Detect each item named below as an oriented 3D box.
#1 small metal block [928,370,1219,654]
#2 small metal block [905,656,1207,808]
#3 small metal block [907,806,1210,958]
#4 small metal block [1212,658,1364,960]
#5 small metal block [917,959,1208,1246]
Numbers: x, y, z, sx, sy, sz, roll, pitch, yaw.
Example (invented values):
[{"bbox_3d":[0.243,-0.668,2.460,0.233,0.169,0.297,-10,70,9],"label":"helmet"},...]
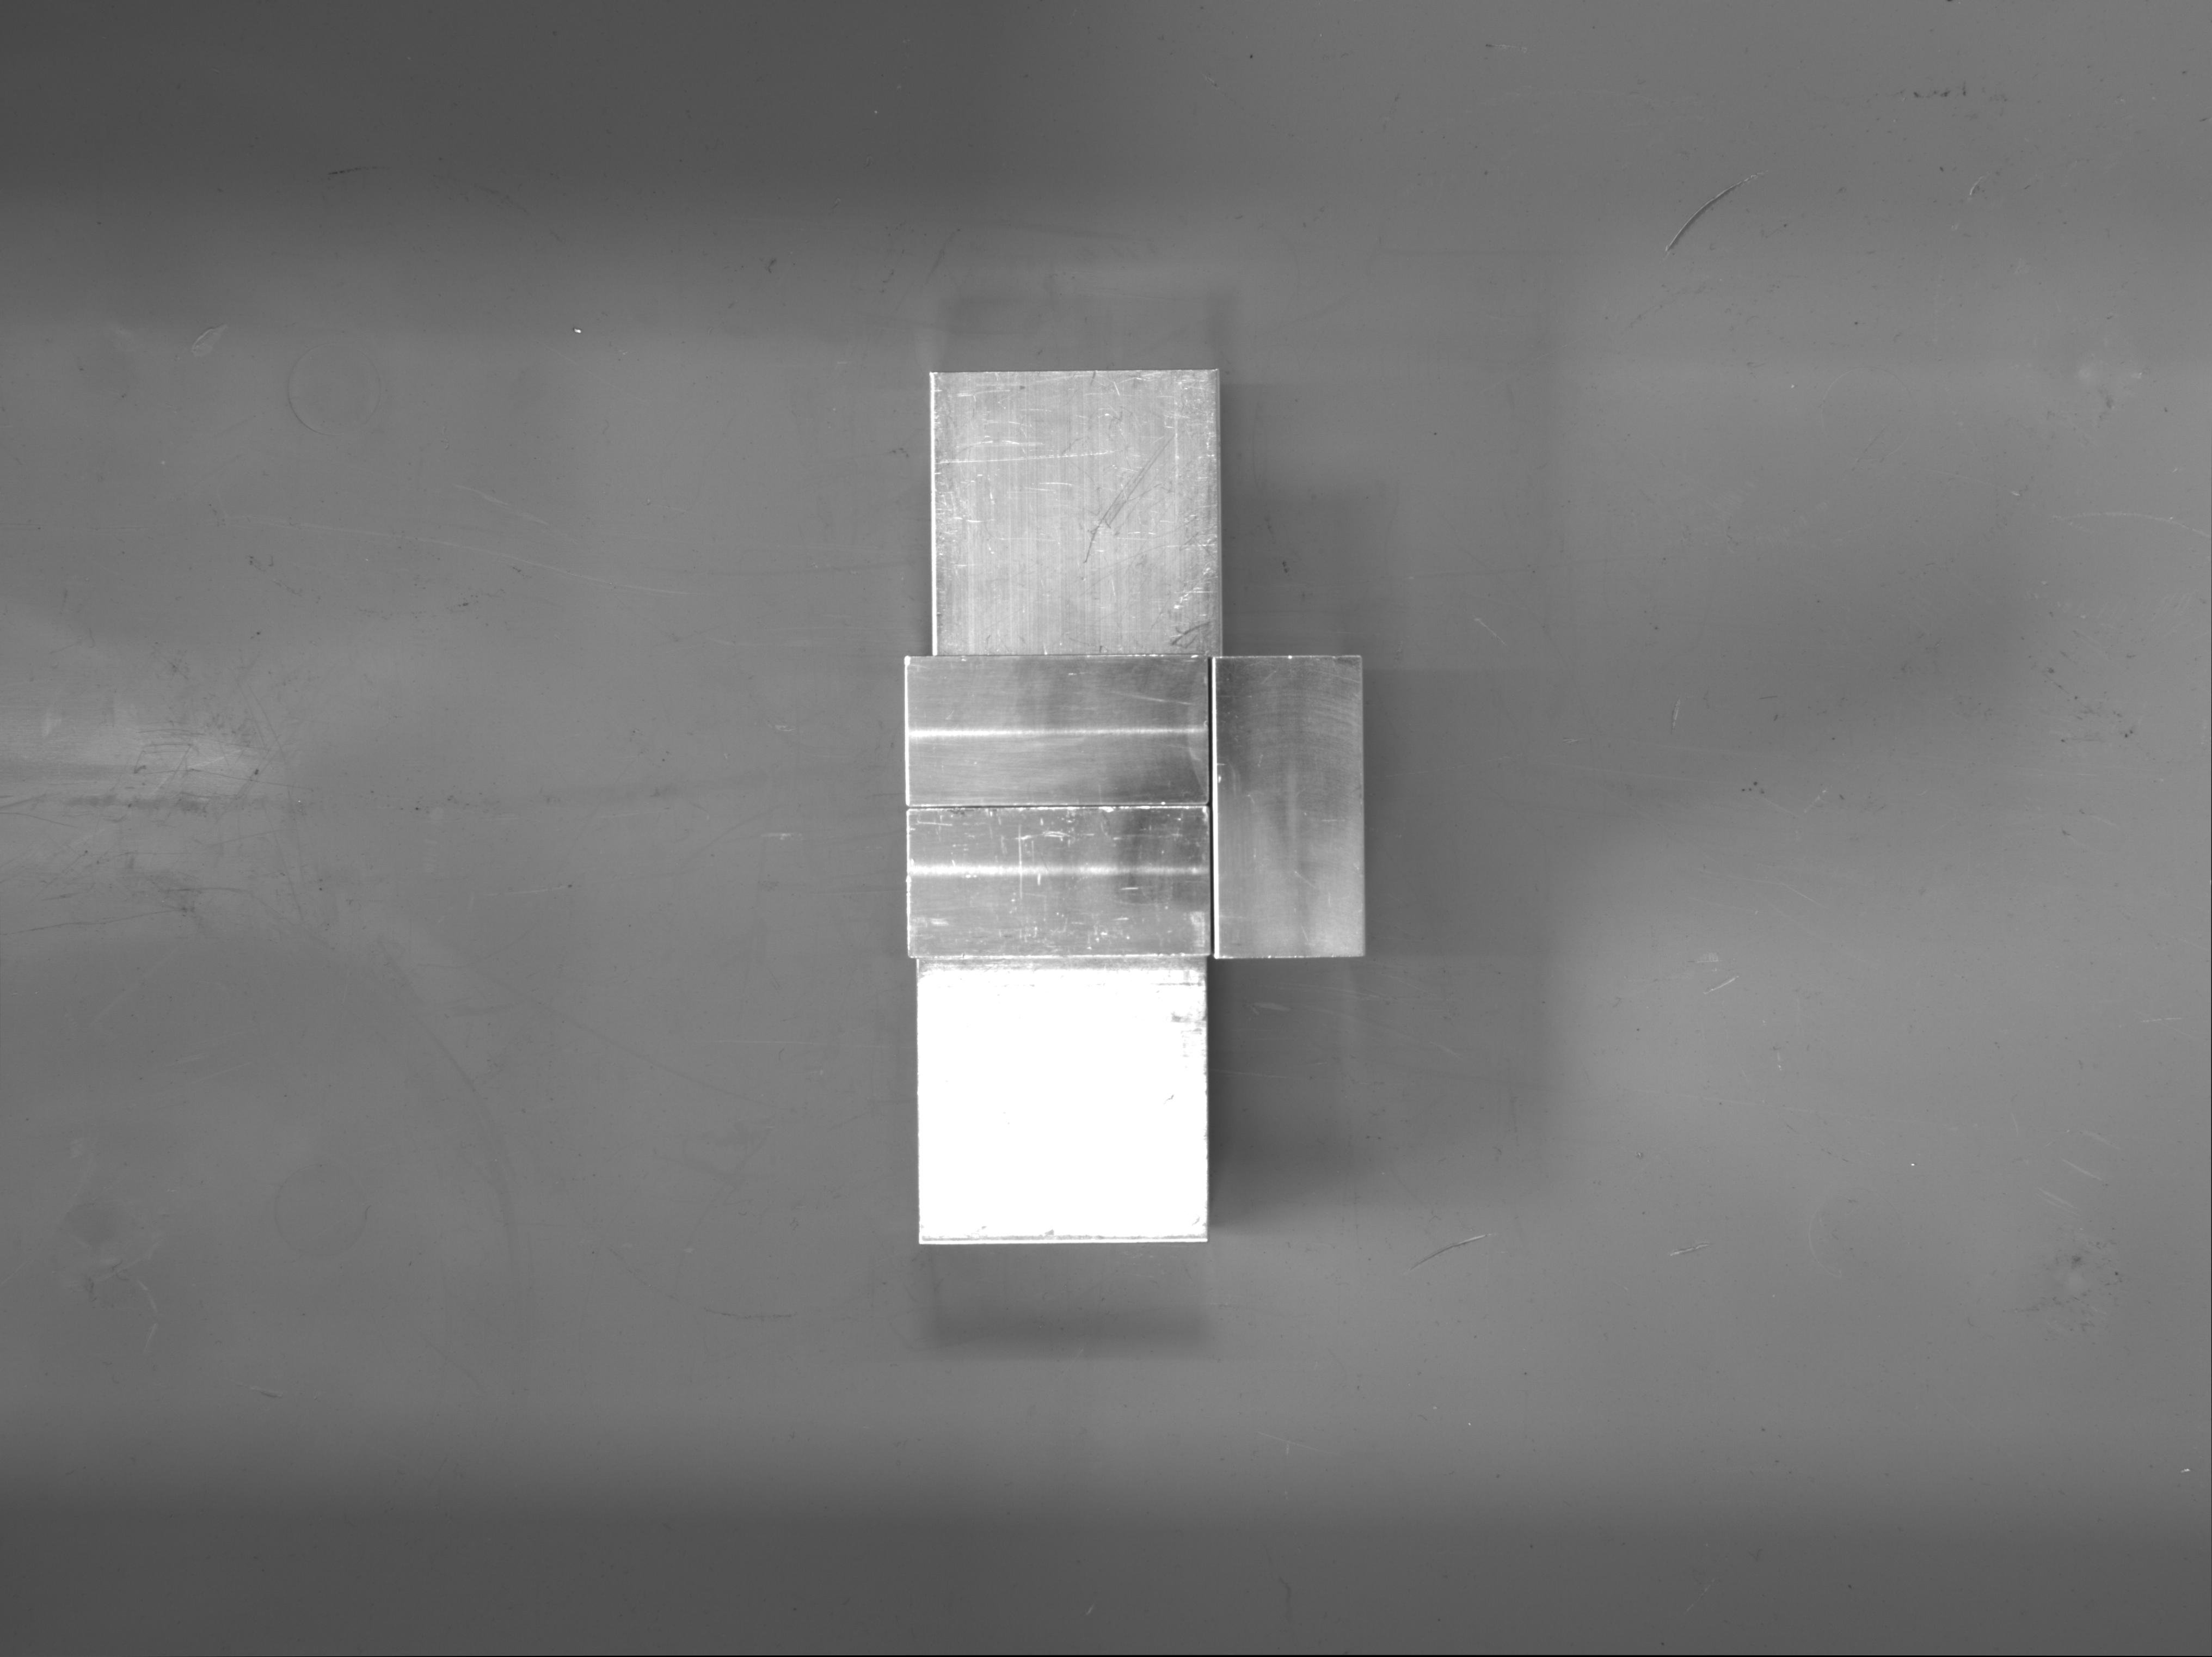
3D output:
[{"bbox_3d":[-0.006,-0.054,0.644,0.050,0.025,0.050,0,90,0],"label":"small metal block"},{"bbox_3d":[-0.008,-0.016,0.631,0.050,0.050,0.025,0,90,0],"label":"small metal block"},{"bbox_3d":[-0.008,0.009,0.631,0.050,0.050,0.025,0,90,0],"label":"small metal block"},{"bbox_3d":[0.030,-0.003,0.631,0.025,0.050,0.050,0,90,0],"label":"small metal block"},{"bbox_3d":[-0.007,0.047,0.644,0.050,0.025,0.050,0,90,0],"label":"small metal block"}]
